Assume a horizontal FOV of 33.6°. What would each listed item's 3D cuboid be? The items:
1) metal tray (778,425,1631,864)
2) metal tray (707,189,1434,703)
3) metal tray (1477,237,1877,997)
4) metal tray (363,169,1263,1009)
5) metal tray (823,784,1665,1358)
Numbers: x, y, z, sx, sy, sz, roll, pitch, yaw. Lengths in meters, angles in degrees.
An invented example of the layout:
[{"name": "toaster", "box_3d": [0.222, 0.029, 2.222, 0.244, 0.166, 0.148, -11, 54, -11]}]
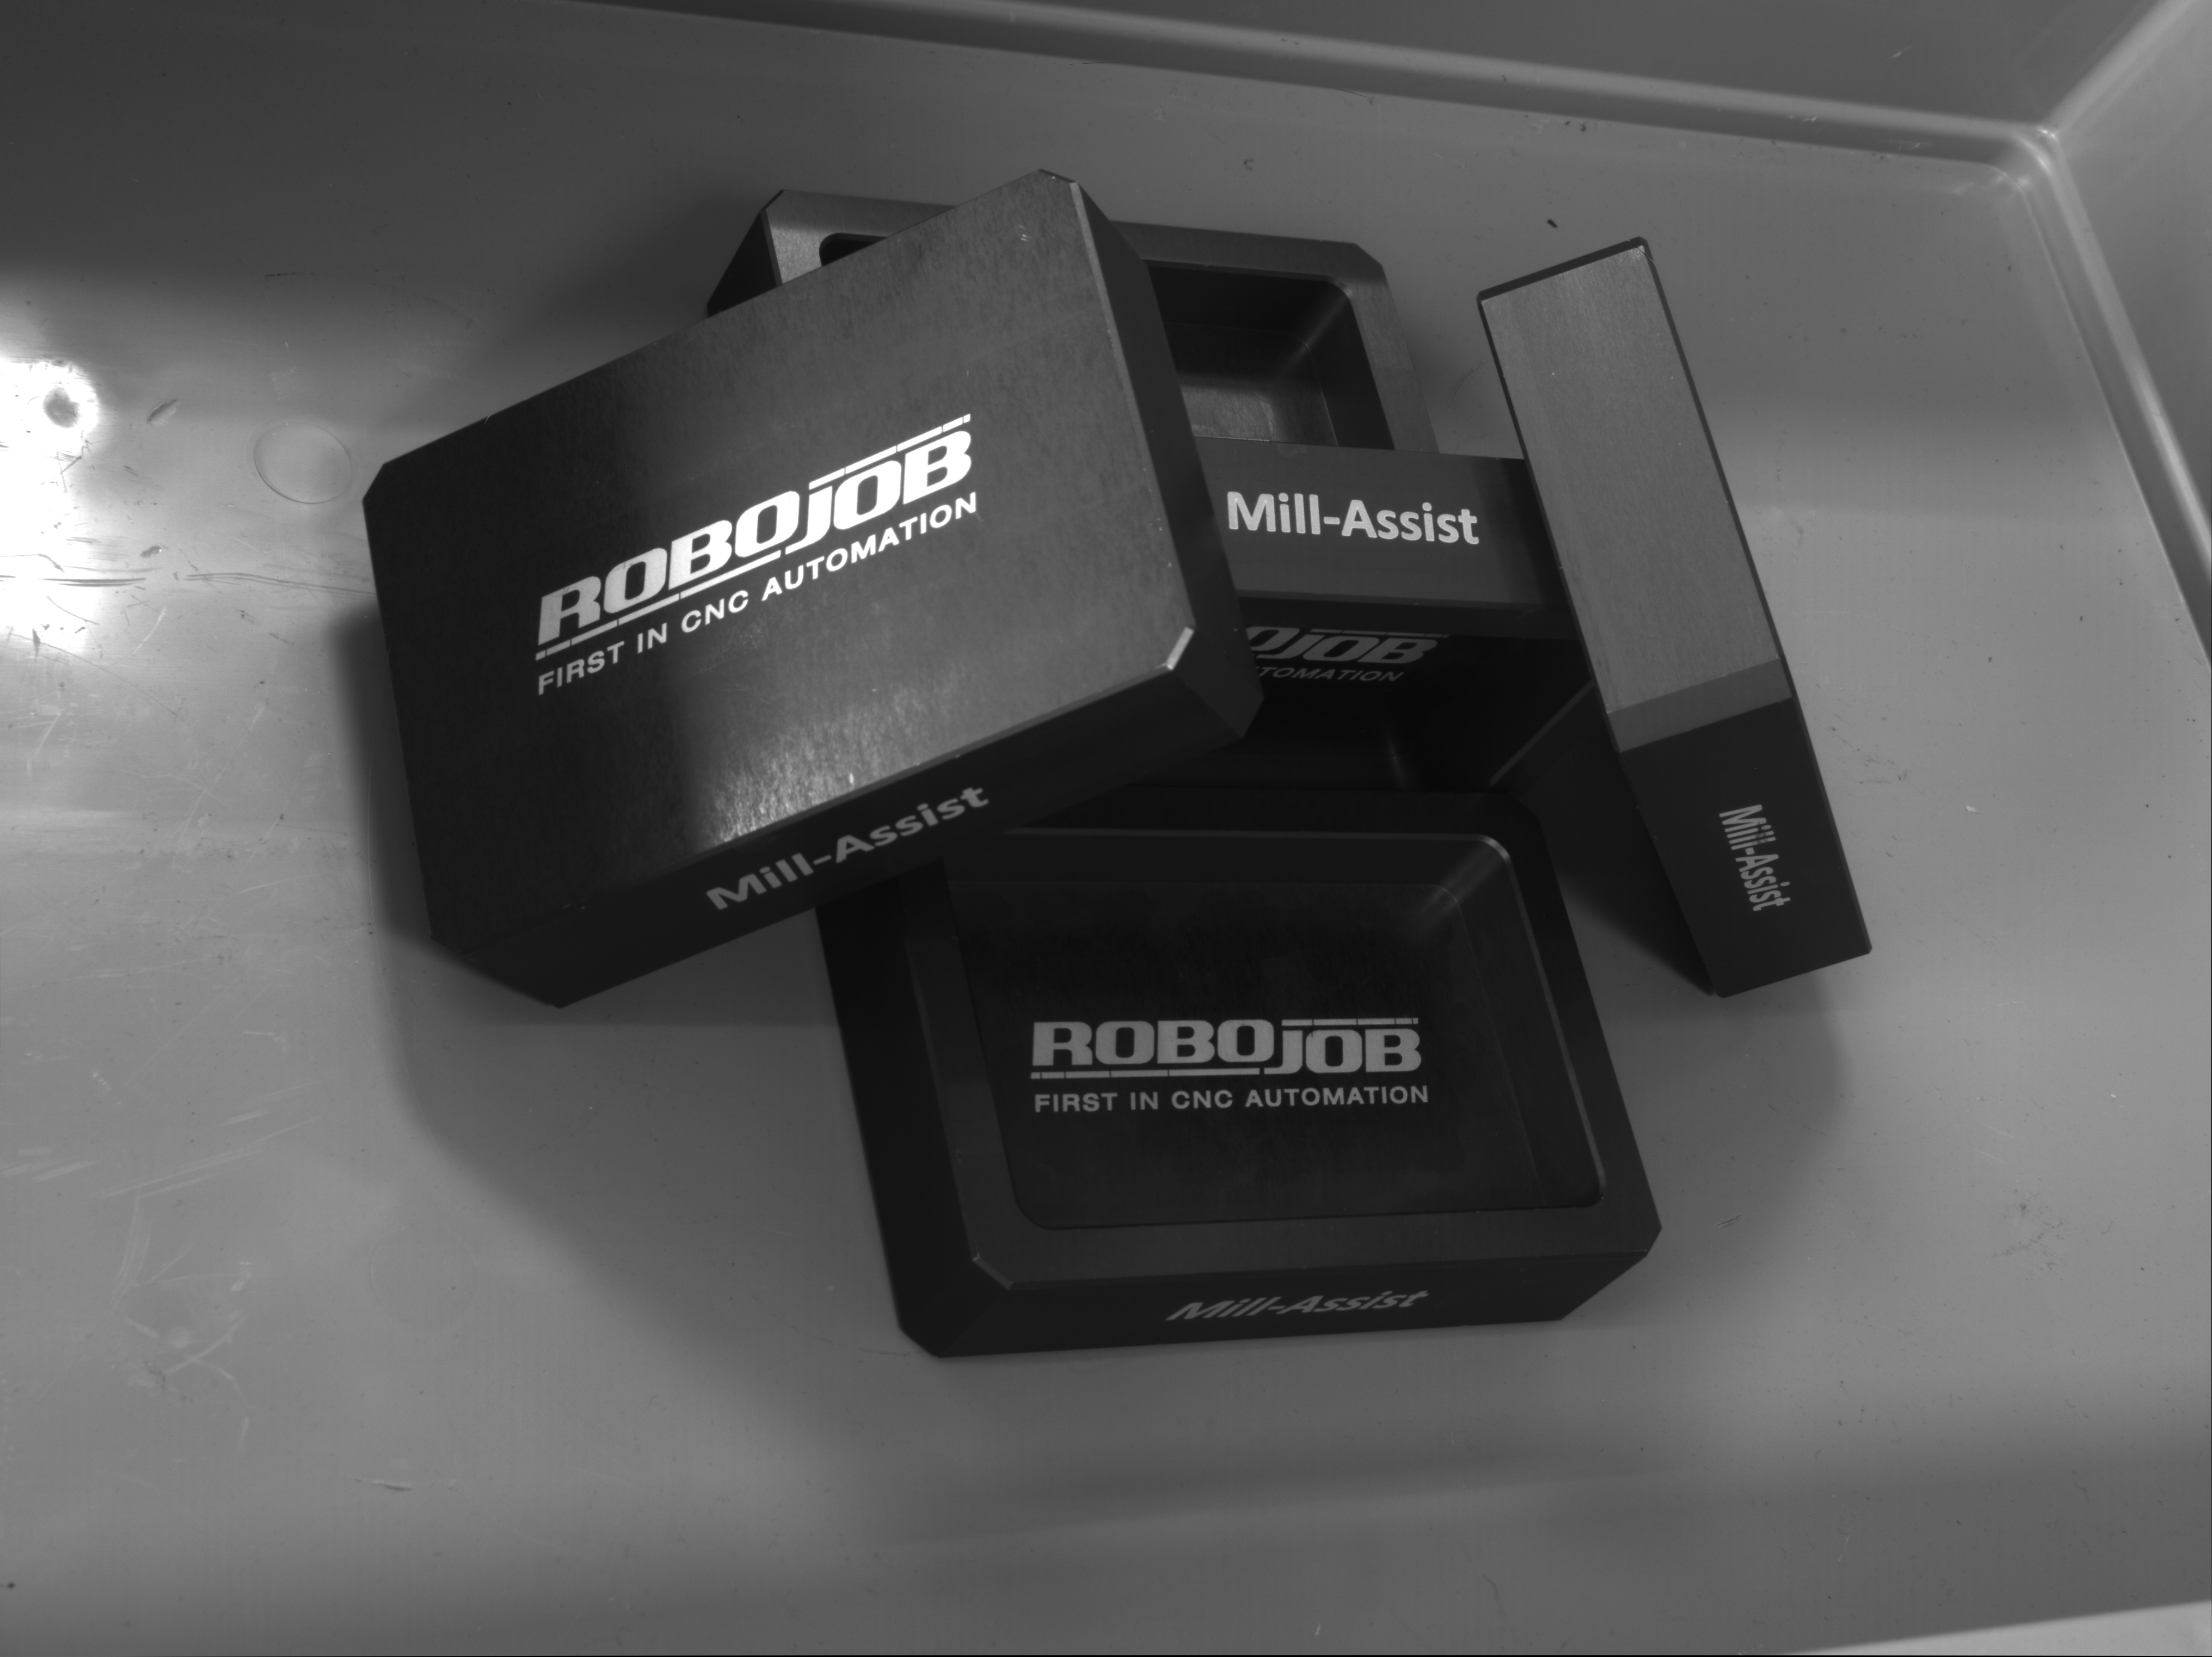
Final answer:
[{"name": "metal tray", "box_3d": [0.021, -0.028, 0.624, 0.130, 0.090, 0.030, 1, 61, -28]}, {"name": "metal tray", "box_3d": [-0.001, -0.067, 0.674, 0.130, 0.030, 0.090, 0, 62, -29]}, {"name": "metal tray", "box_3d": [0.103, -0.034, 0.654, 0.030, 0.130, 0.090, -18, 64, 10]}, {"name": "metal tray", "box_3d": [-0.049, -0.036, 0.575, 0.030, 0.130, 0.090, 40, 32, -60]}, {"name": "metal tray", "box_3d": [0.023, 0.039, 0.620, 0.130, 0.030, 0.090, 1, 61, -28]}]
